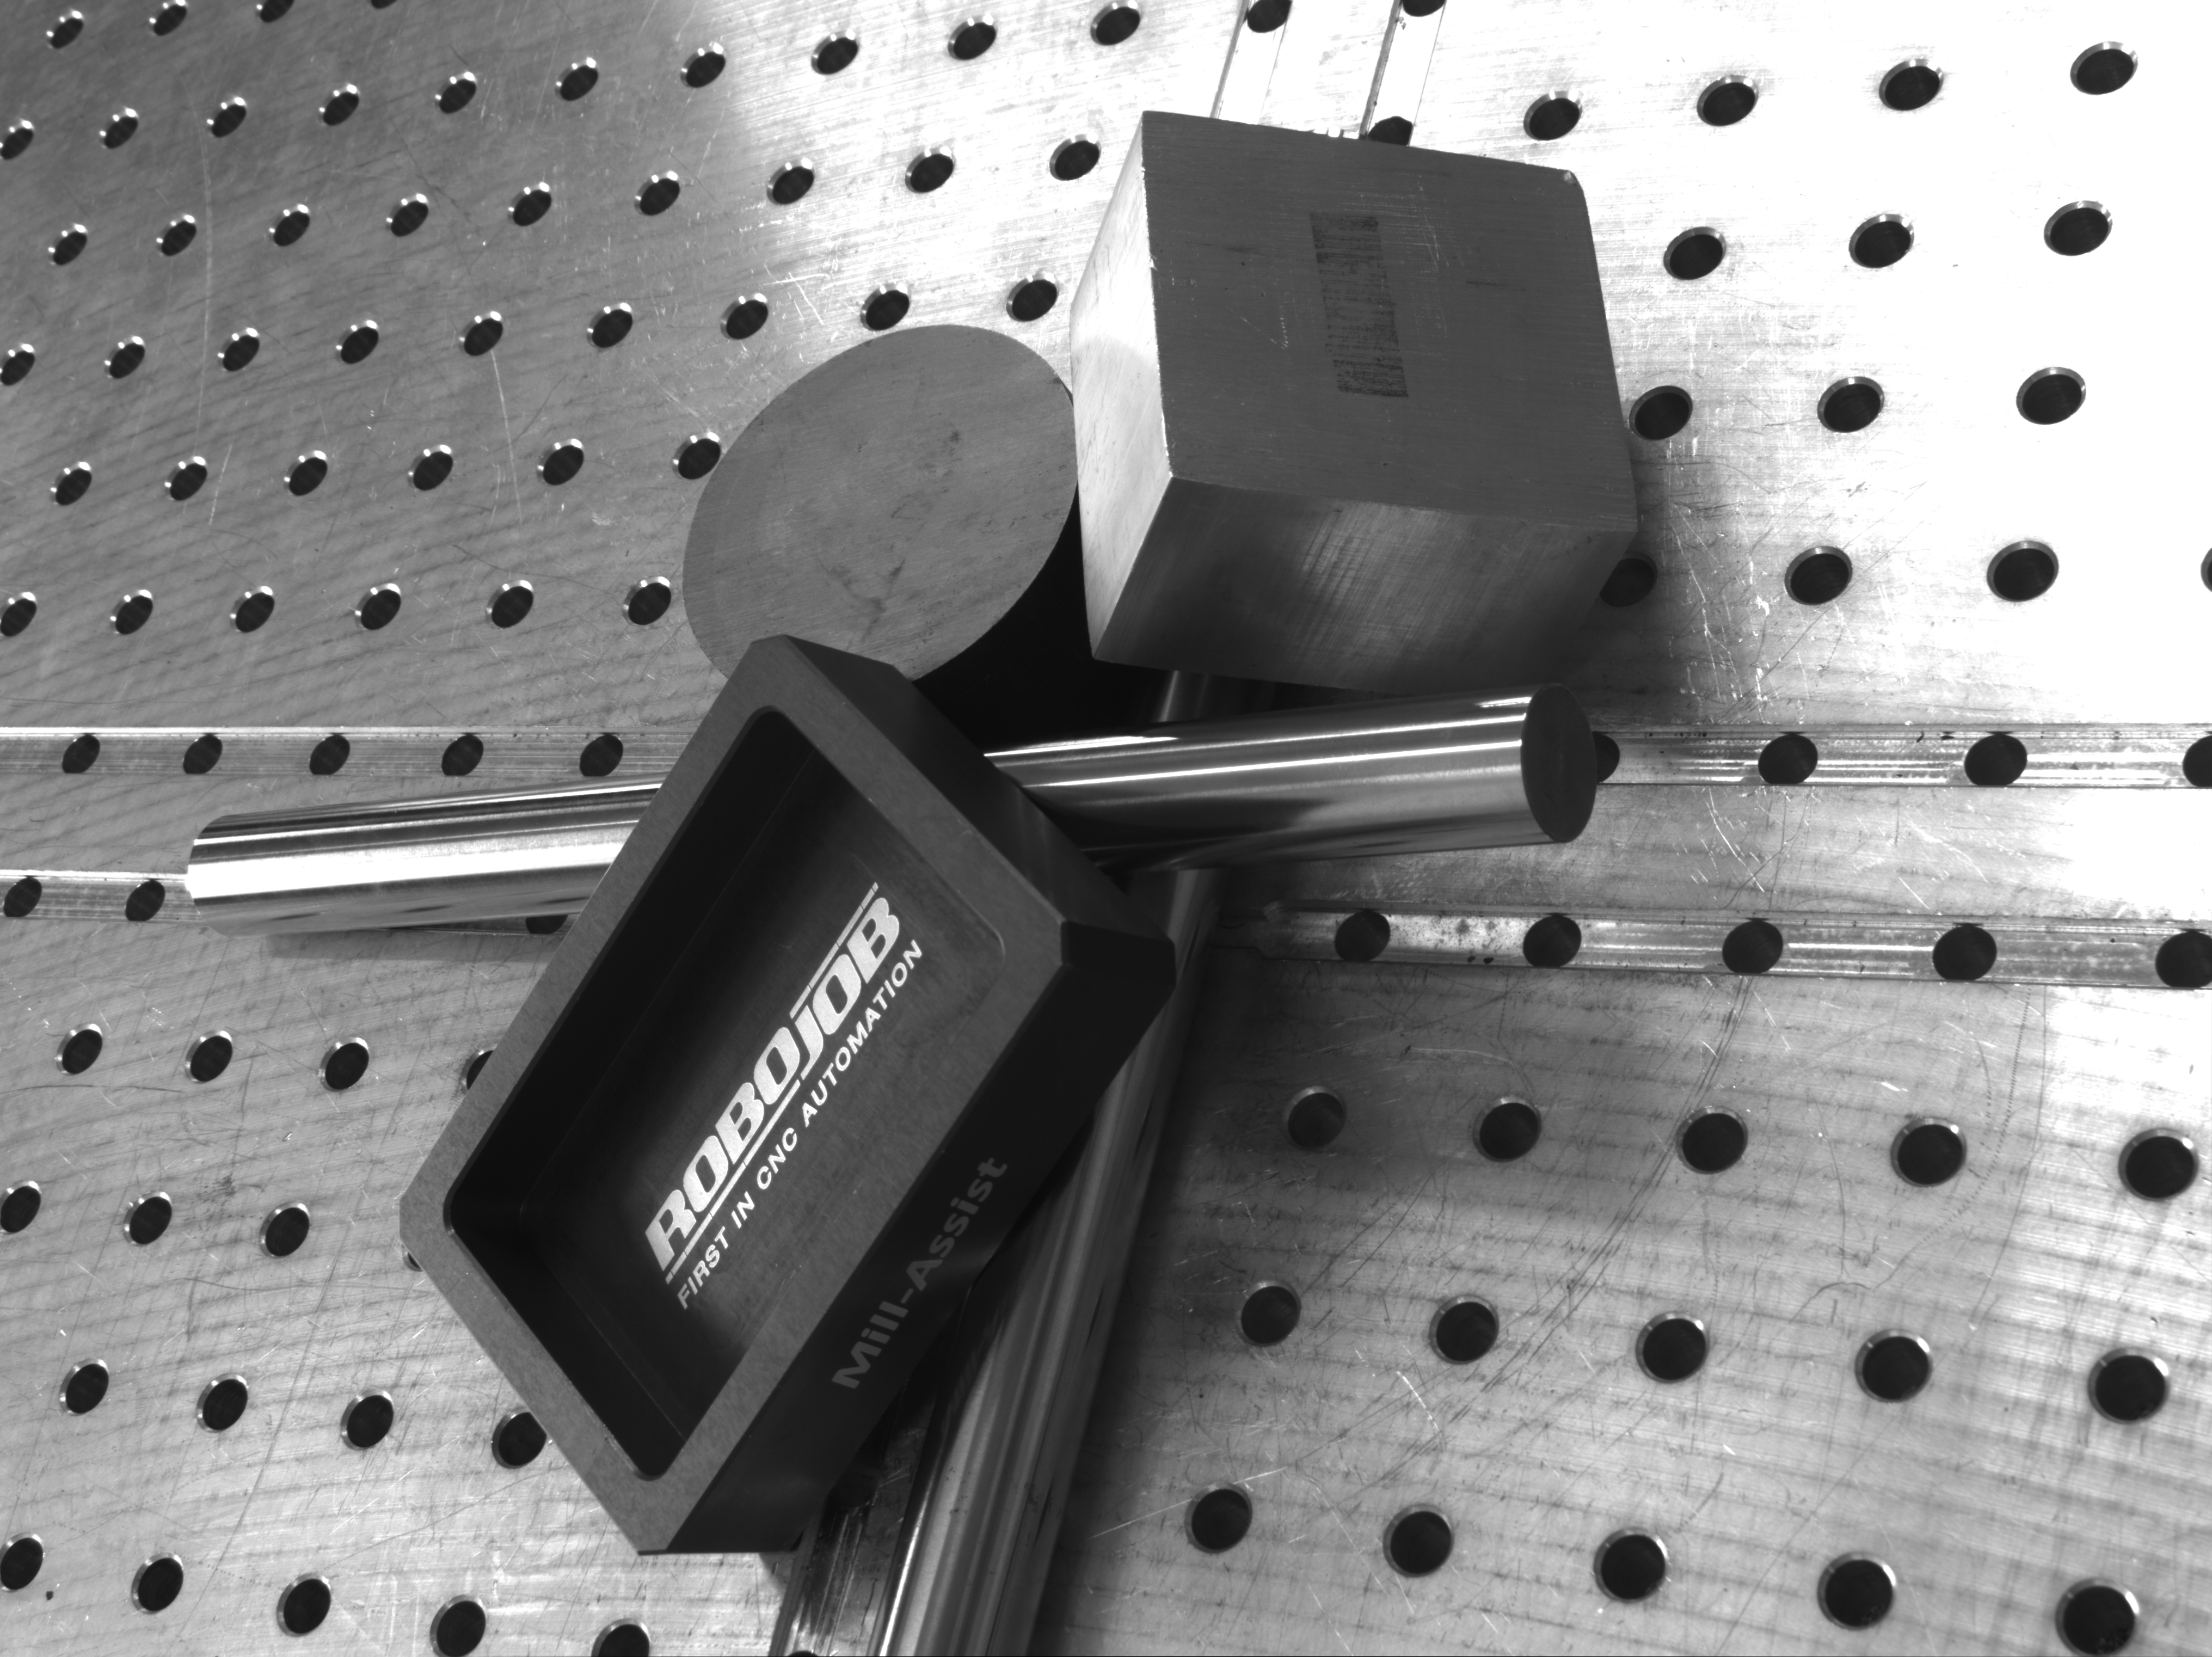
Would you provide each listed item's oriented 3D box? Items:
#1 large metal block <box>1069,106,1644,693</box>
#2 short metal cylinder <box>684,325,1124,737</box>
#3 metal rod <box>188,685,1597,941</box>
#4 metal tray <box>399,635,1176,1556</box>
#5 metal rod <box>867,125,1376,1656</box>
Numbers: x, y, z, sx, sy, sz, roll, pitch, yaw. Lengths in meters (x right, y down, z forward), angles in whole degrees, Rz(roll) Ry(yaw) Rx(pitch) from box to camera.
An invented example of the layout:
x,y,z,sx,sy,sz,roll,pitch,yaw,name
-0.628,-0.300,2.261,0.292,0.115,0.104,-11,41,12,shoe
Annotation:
x,y,z,sx,sy,sz,roll,pitch,yaw,name
0.040,-0.071,0.629,0.080,0.050,0.080,6,56,-14,large metal block
-0.030,-0.045,0.676,0.080,0.050,0.080,-14,56,21,short metal cylinder
-0.052,0.000,0.656,0.299,0.025,0.025,-5,59,34,metal rod
-0.056,0.045,0.615,0.090,0.030,0.130,44,108,33,metal tray
0.009,0.006,0.640,0.025,0.025,0.300,1,62,29,metal rod
